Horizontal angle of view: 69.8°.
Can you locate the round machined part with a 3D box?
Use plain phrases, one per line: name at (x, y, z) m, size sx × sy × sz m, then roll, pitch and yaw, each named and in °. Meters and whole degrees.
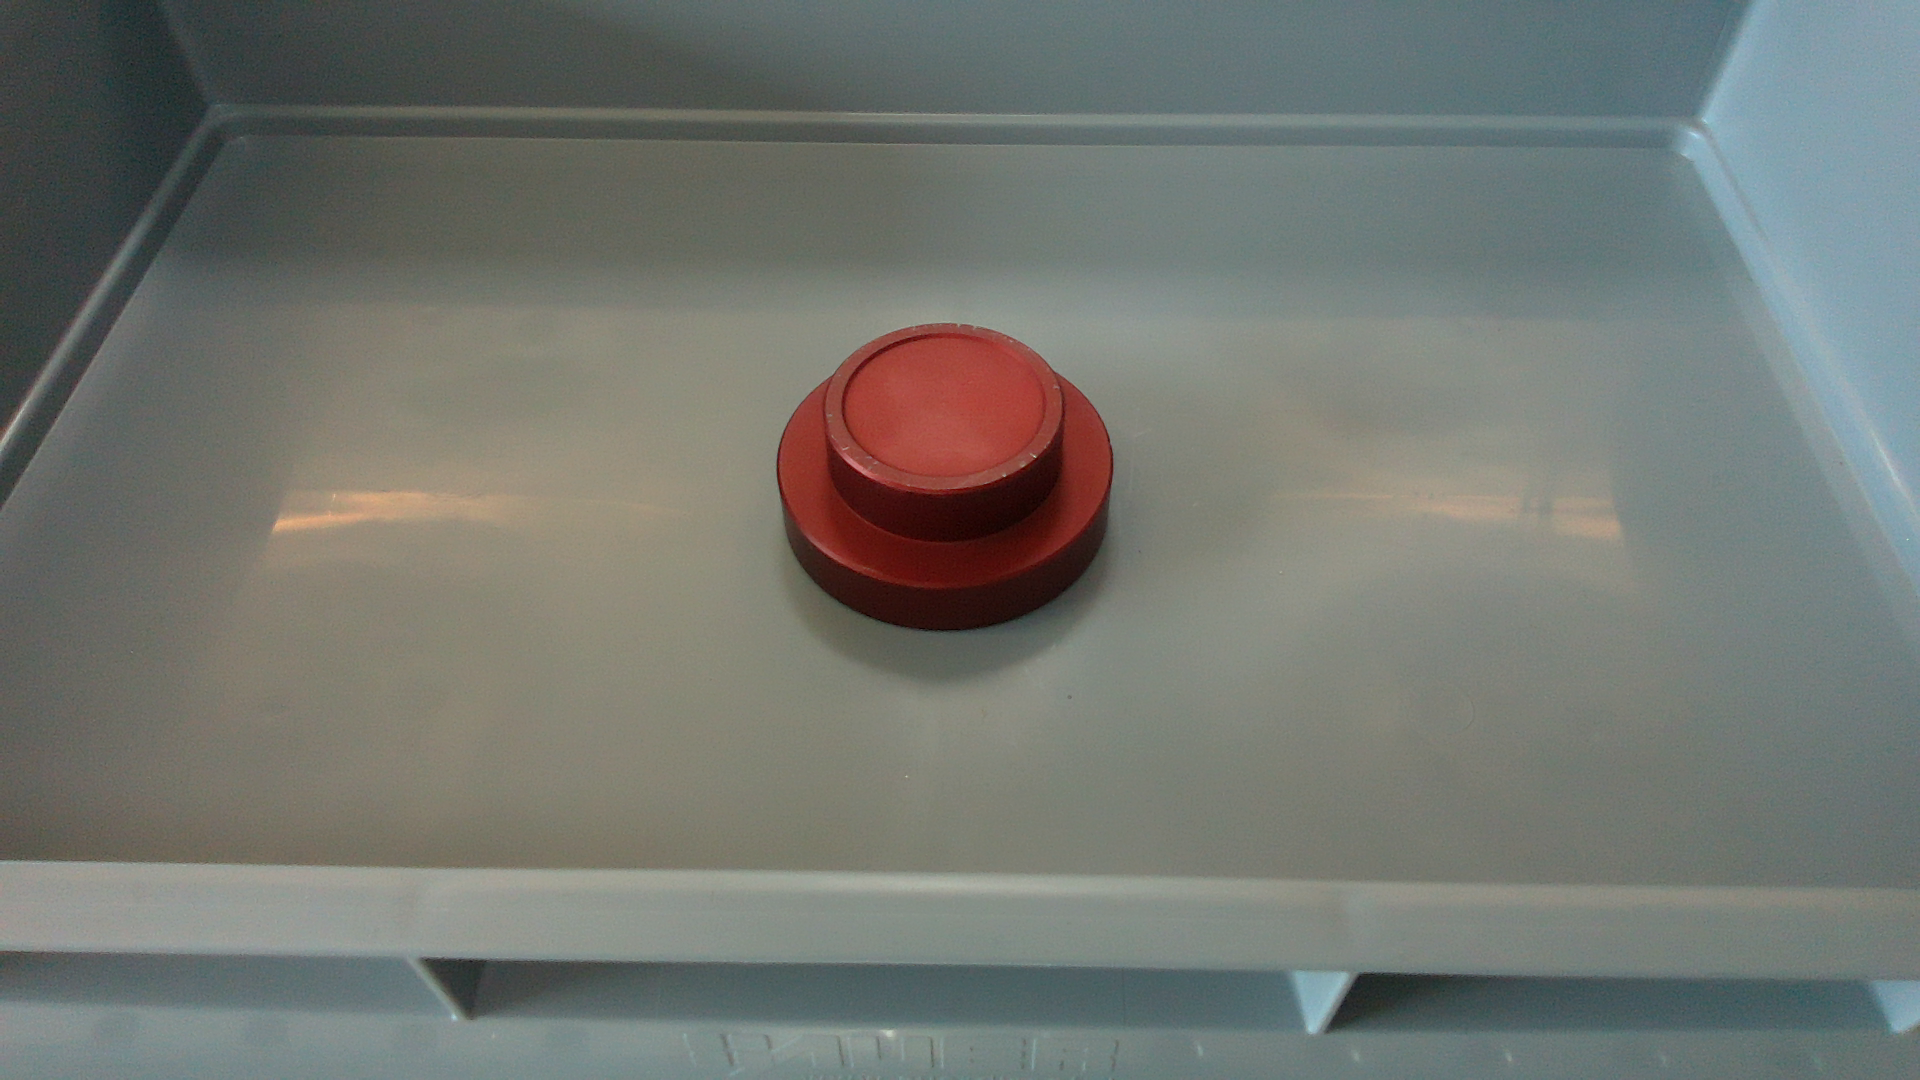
round machined part at (-0.004, -0.025, 0.398) m, size 0.098 × 0.042 × 0.098 m, roll 0°, pitch 50°, yaw 0°
